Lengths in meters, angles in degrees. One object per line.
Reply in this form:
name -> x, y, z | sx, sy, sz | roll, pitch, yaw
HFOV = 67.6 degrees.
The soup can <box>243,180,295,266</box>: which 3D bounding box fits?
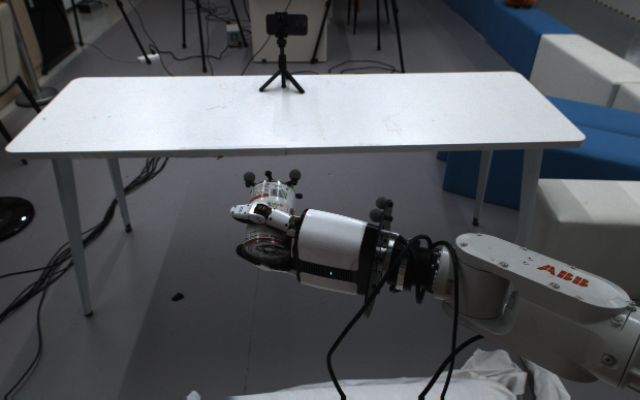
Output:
soup can -> -0.070, 0.031, 0.684 | 0.067, 0.067, 0.101 | 3, 57, 1
